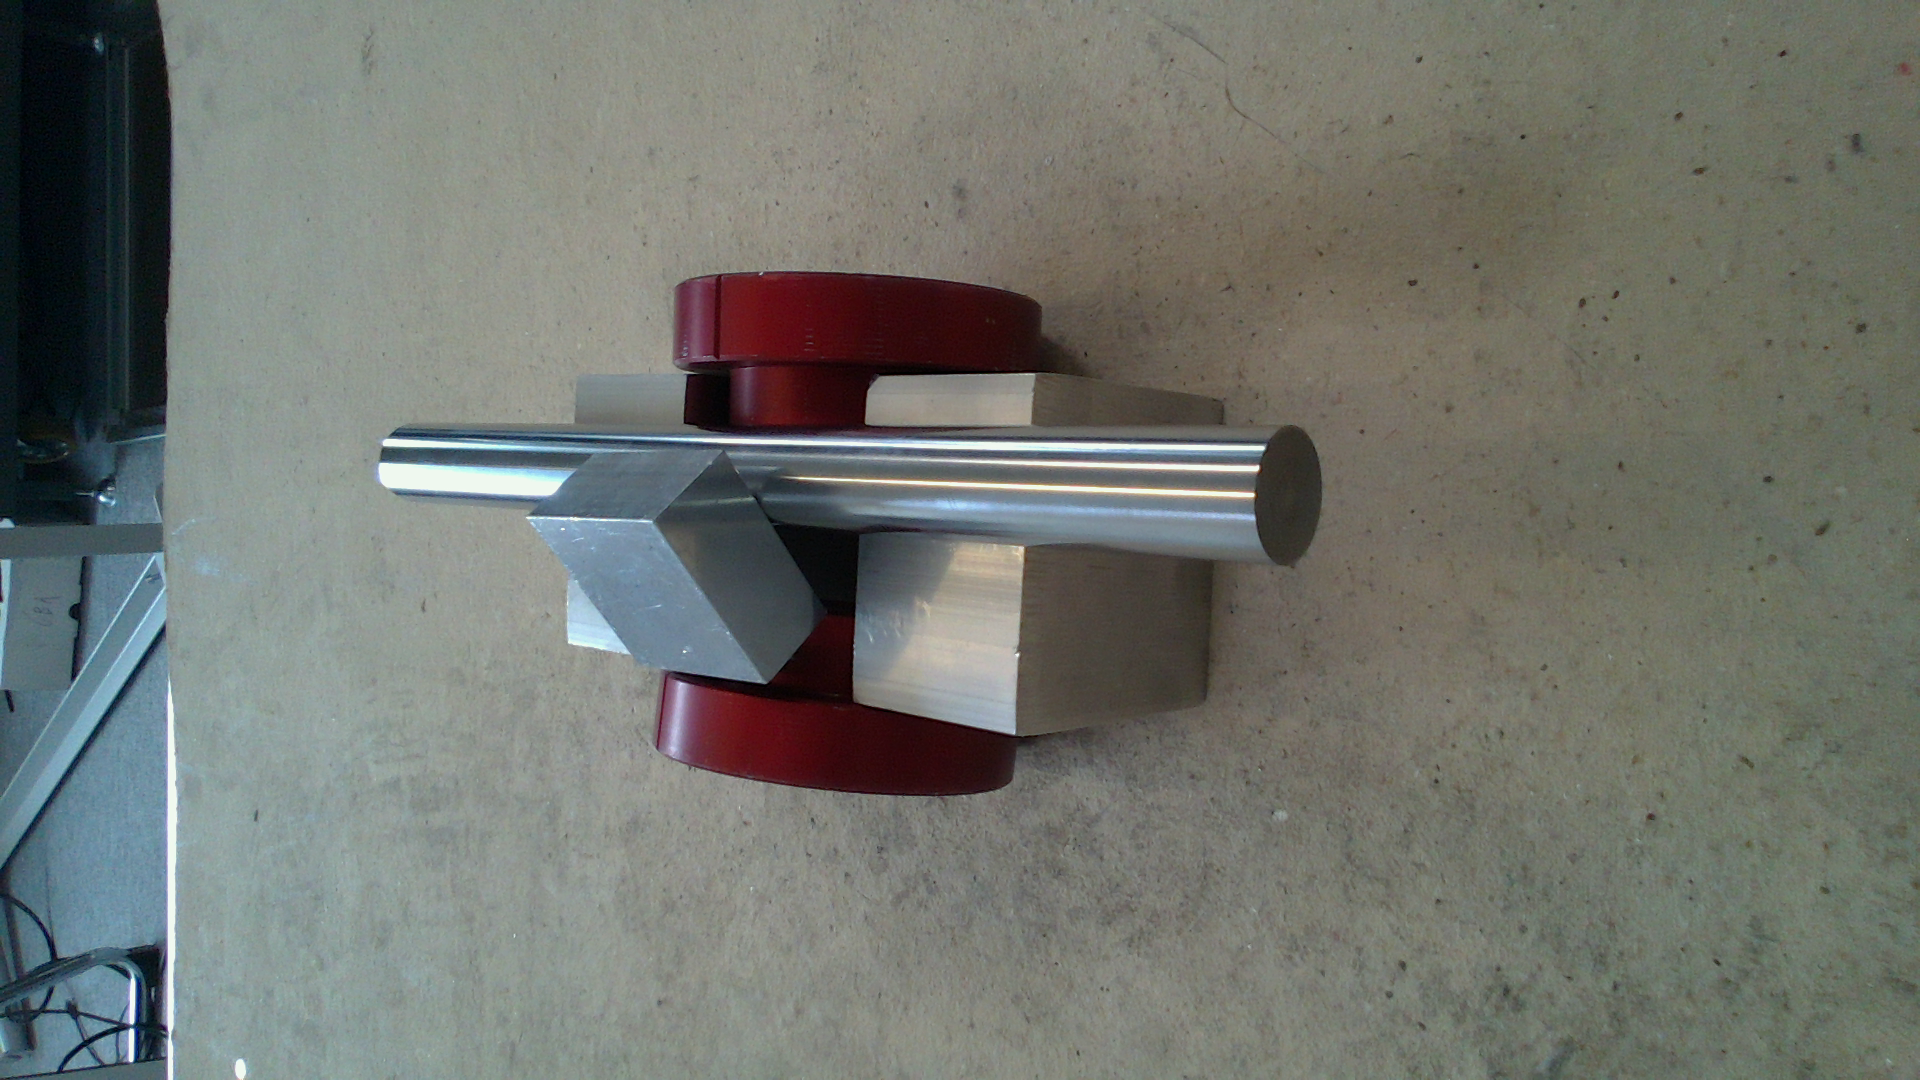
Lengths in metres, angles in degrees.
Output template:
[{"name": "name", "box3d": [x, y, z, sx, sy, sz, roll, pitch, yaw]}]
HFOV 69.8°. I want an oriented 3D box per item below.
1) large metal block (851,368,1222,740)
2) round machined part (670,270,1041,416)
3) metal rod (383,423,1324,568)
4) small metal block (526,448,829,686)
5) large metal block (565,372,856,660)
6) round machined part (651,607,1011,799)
[{"name": "large metal block", "box3d": [0.021, 0.002, 0.342, 0.050, 0.080, 0.080, 5, 93, 40]}, {"name": "round machined part", "box3d": [-0.028, -0.044, 0.370, 0.098, 0.098, 0.042, 5, 94, 40]}, {"name": "metal rod", "box3d": [-0.056, -0.016, 0.337, 0.299, 0.025, 0.025, 4, 93, 40]}, {"name": "small metal block", "box3d": [-0.067, 0.006, 0.329, 0.050, 0.025, 0.050, 2, 132, 42]}, {"name": "large metal block", "box3d": [-0.069, -0.007, 0.417, 0.050, 0.080, 0.080, 6, 94, 40]}, {"name": "round machined part", "box3d": [-0.032, 0.040, 0.374, 0.098, 0.098, 0.042, 6, 89, 40]}]
